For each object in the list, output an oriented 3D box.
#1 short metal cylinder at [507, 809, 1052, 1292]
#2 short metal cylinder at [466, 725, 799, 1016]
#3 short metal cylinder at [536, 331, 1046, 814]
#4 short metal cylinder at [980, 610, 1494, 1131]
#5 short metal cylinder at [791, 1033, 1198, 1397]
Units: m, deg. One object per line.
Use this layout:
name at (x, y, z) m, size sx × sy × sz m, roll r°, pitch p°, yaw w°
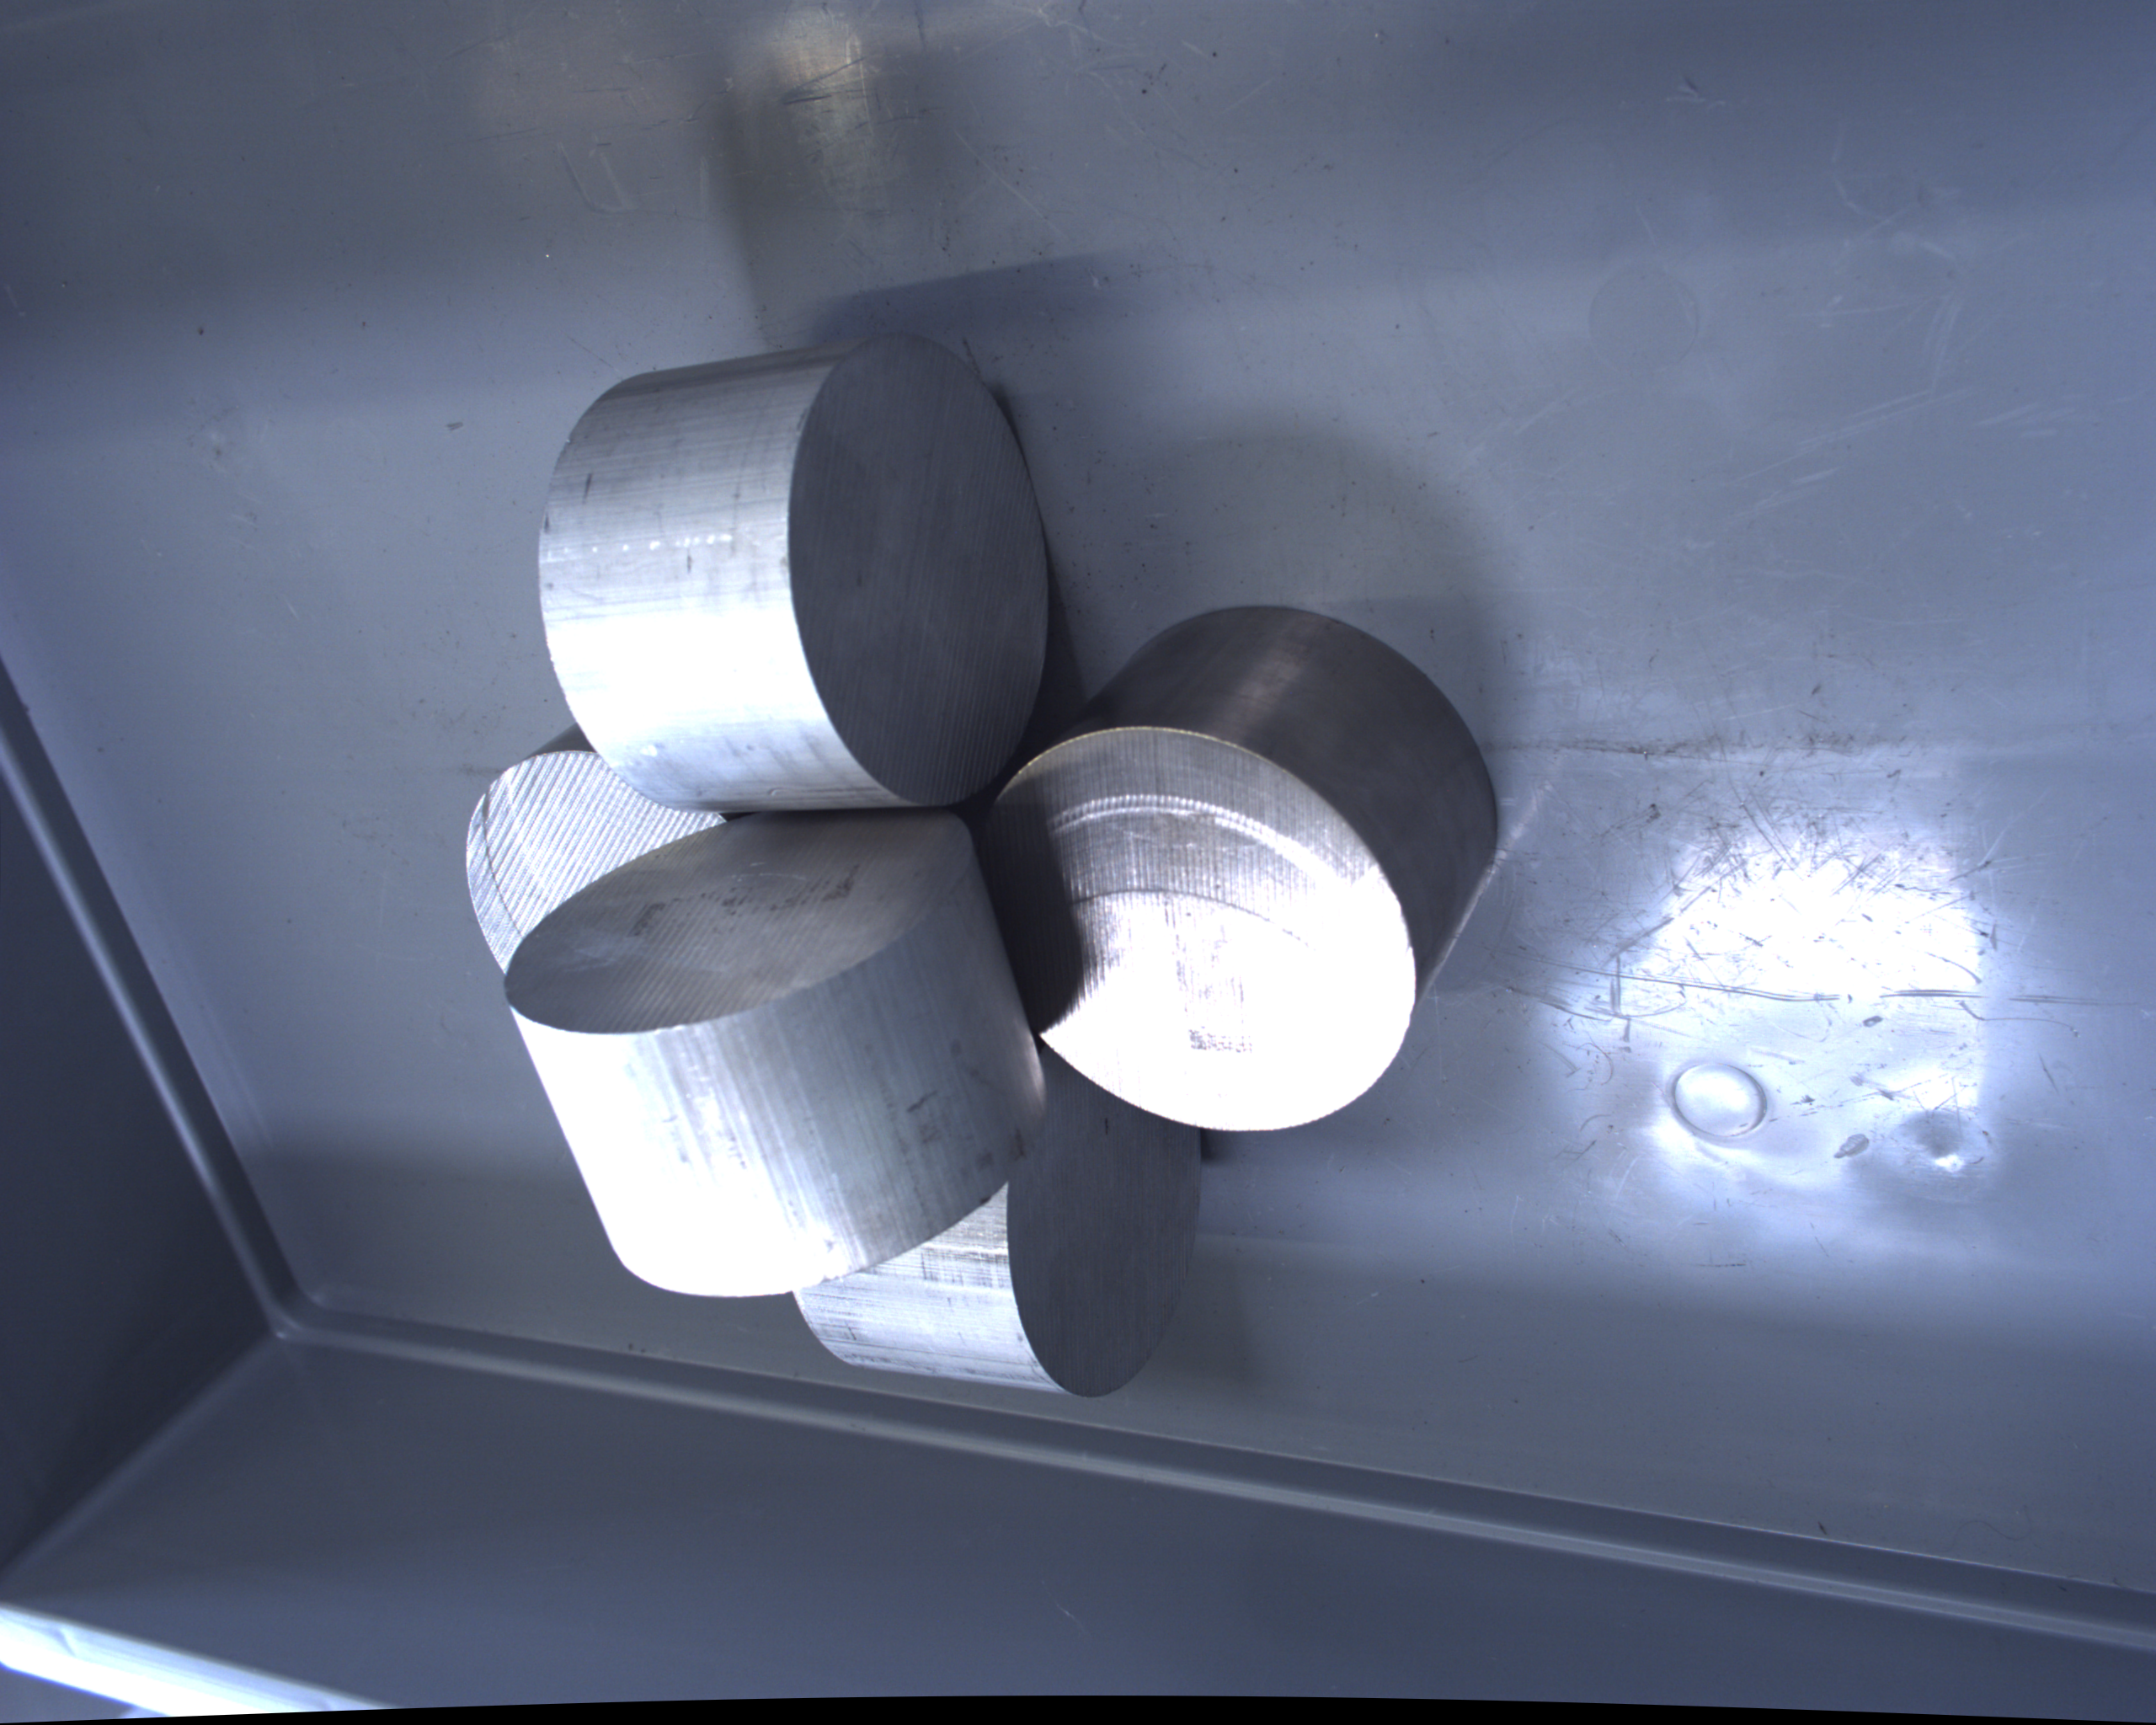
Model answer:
short metal cylinder at (-0.050, 0.028, 0.358) m, size 0.080 × 0.080 × 0.050 m, roll -1°, pitch 118°, yaw 29°
short metal cylinder at (-0.078, 0.002, 0.432) m, size 0.080 × 0.050 × 0.079 m, roll 13°, pitch 124°, yaw 21°
short metal cylinder at (-0.047, -0.049, 0.365) m, size 0.050 × 0.080 × 0.080 m, roll -2°, pitch 117°, yaw 29°
short metal cylinder at (0.029, 0.001, 0.375) m, size 0.080 × 0.050 × 0.079 m, roll 13°, pitch 124°, yaw 21°
short metal cylinder at (-0.016, 0.064, 0.419) m, size 0.050 × 0.080 × 0.080 m, roll -2°, pitch 117°, yaw 29°
